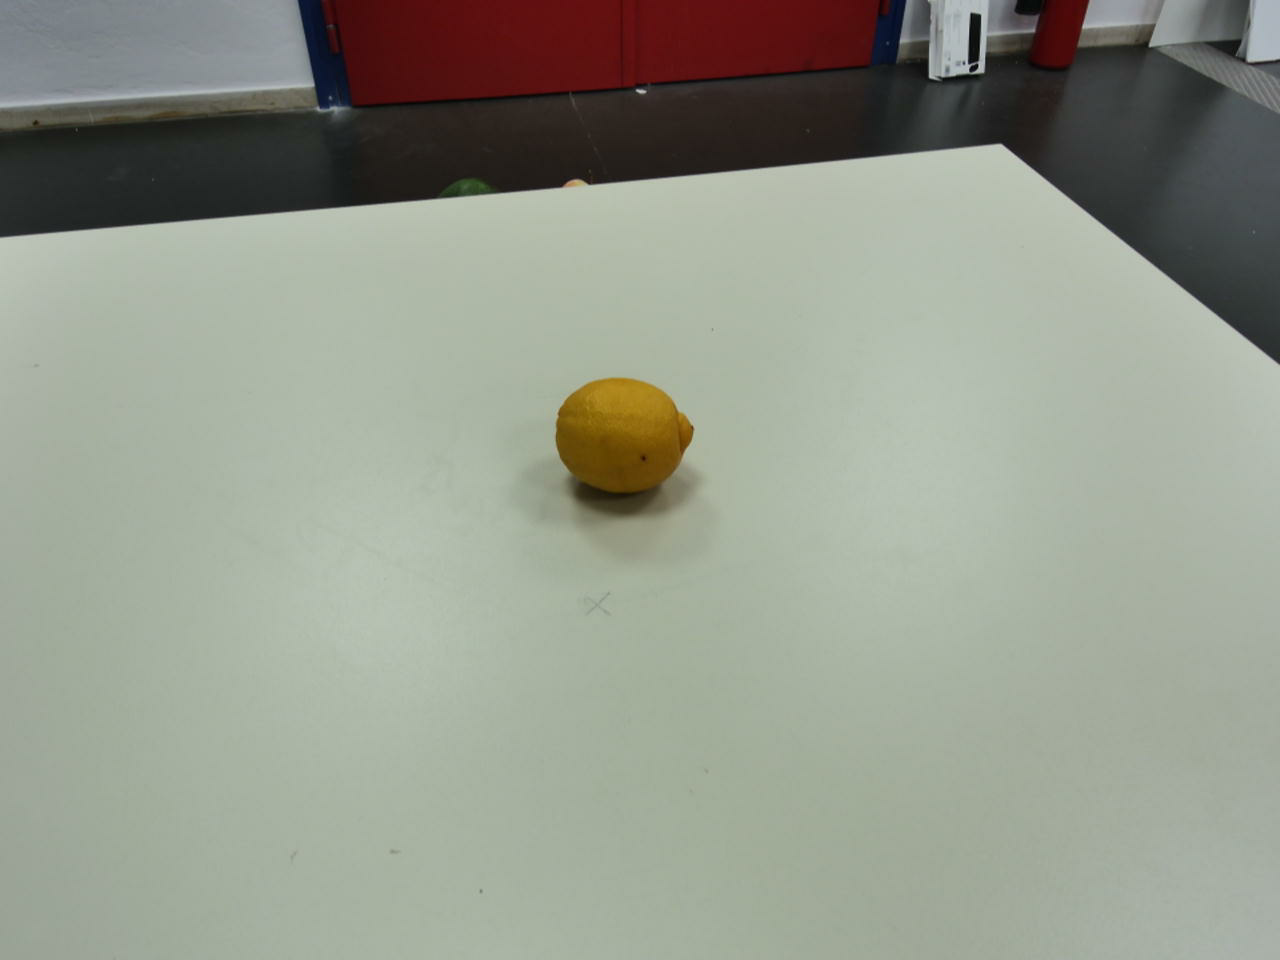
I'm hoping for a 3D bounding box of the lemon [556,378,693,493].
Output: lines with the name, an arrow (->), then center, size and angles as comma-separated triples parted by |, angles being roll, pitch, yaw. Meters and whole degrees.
lemon -> -0.010, -0.023, 0.520 | 0.067, 0.059, 0.060 | 20, 43, 22
